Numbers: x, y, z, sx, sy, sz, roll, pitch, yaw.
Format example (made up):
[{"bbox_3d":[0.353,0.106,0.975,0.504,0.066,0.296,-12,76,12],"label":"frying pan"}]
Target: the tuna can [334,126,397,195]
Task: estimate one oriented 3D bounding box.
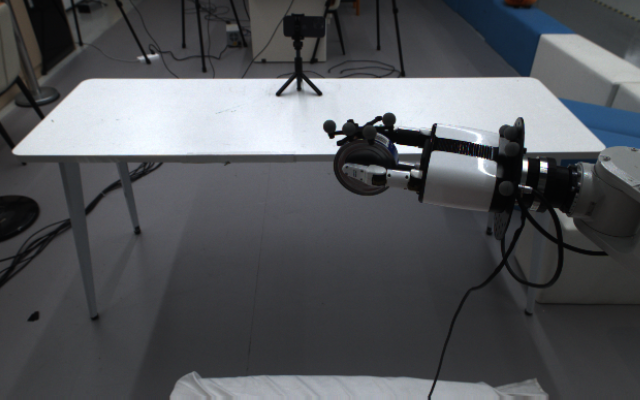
[{"bbox_3d":[0.064,-0.051,0.659,0.085,0.085,0.034,10,33,11],"label":"tuna can"}]
